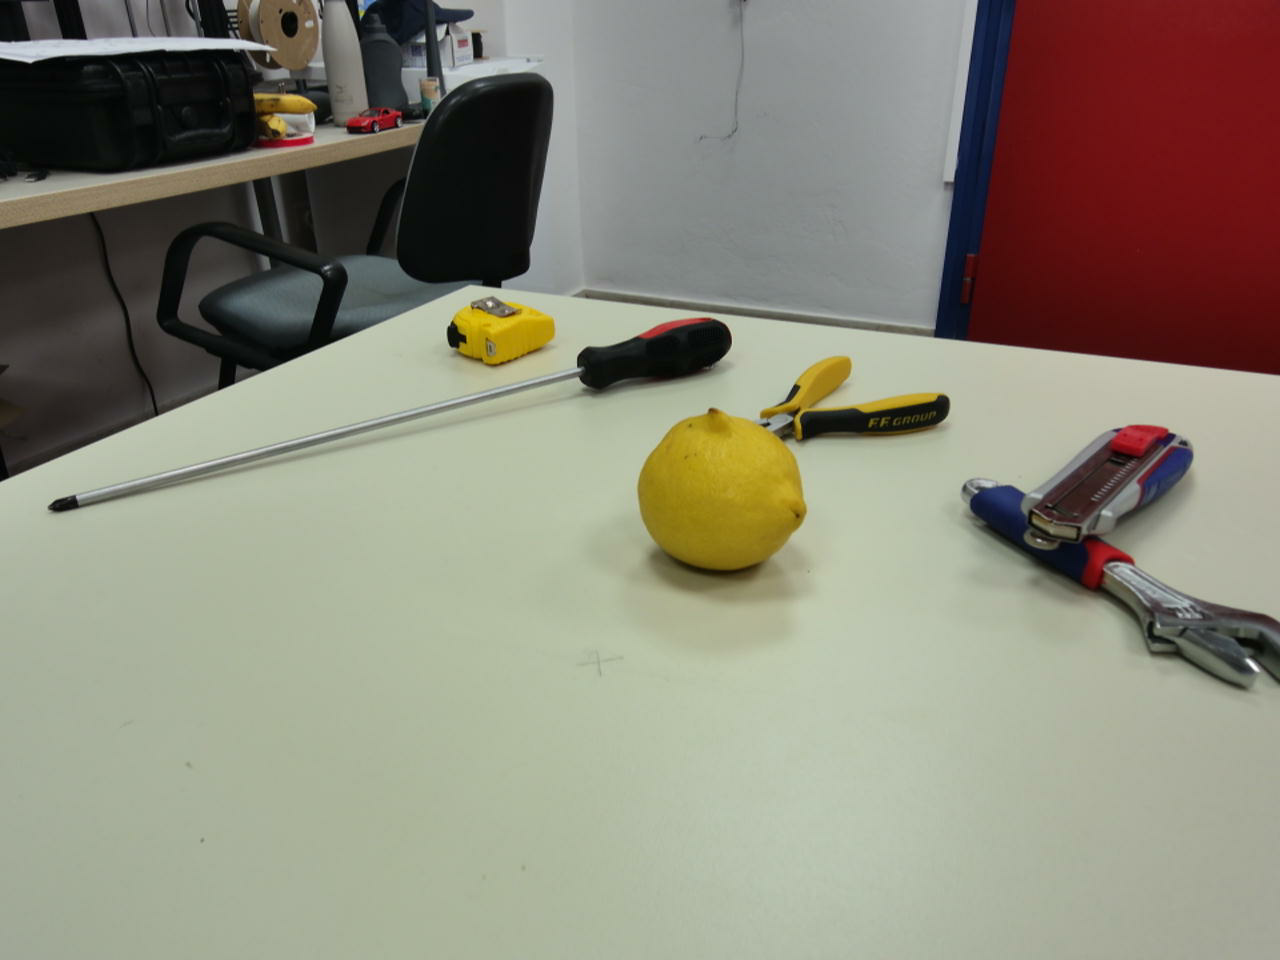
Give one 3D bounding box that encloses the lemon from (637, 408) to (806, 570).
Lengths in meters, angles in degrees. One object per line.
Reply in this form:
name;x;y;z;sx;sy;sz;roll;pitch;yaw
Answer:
lemon;0.034;0.002;0.433;0.070;0.071;0.071;-4;24;-7
